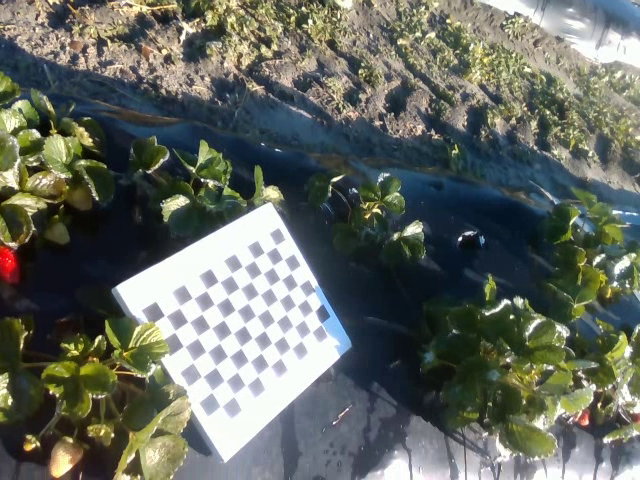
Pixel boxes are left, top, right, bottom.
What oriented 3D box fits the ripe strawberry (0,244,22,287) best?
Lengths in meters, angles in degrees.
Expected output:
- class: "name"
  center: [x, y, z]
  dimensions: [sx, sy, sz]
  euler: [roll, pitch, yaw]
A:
- class: "ripe strawberry"
  center: [-0.431, 0.031, 0.795]
  dimensions: [0.043, 0.059, 0.040]
  euler: [-34, 1, -39]
